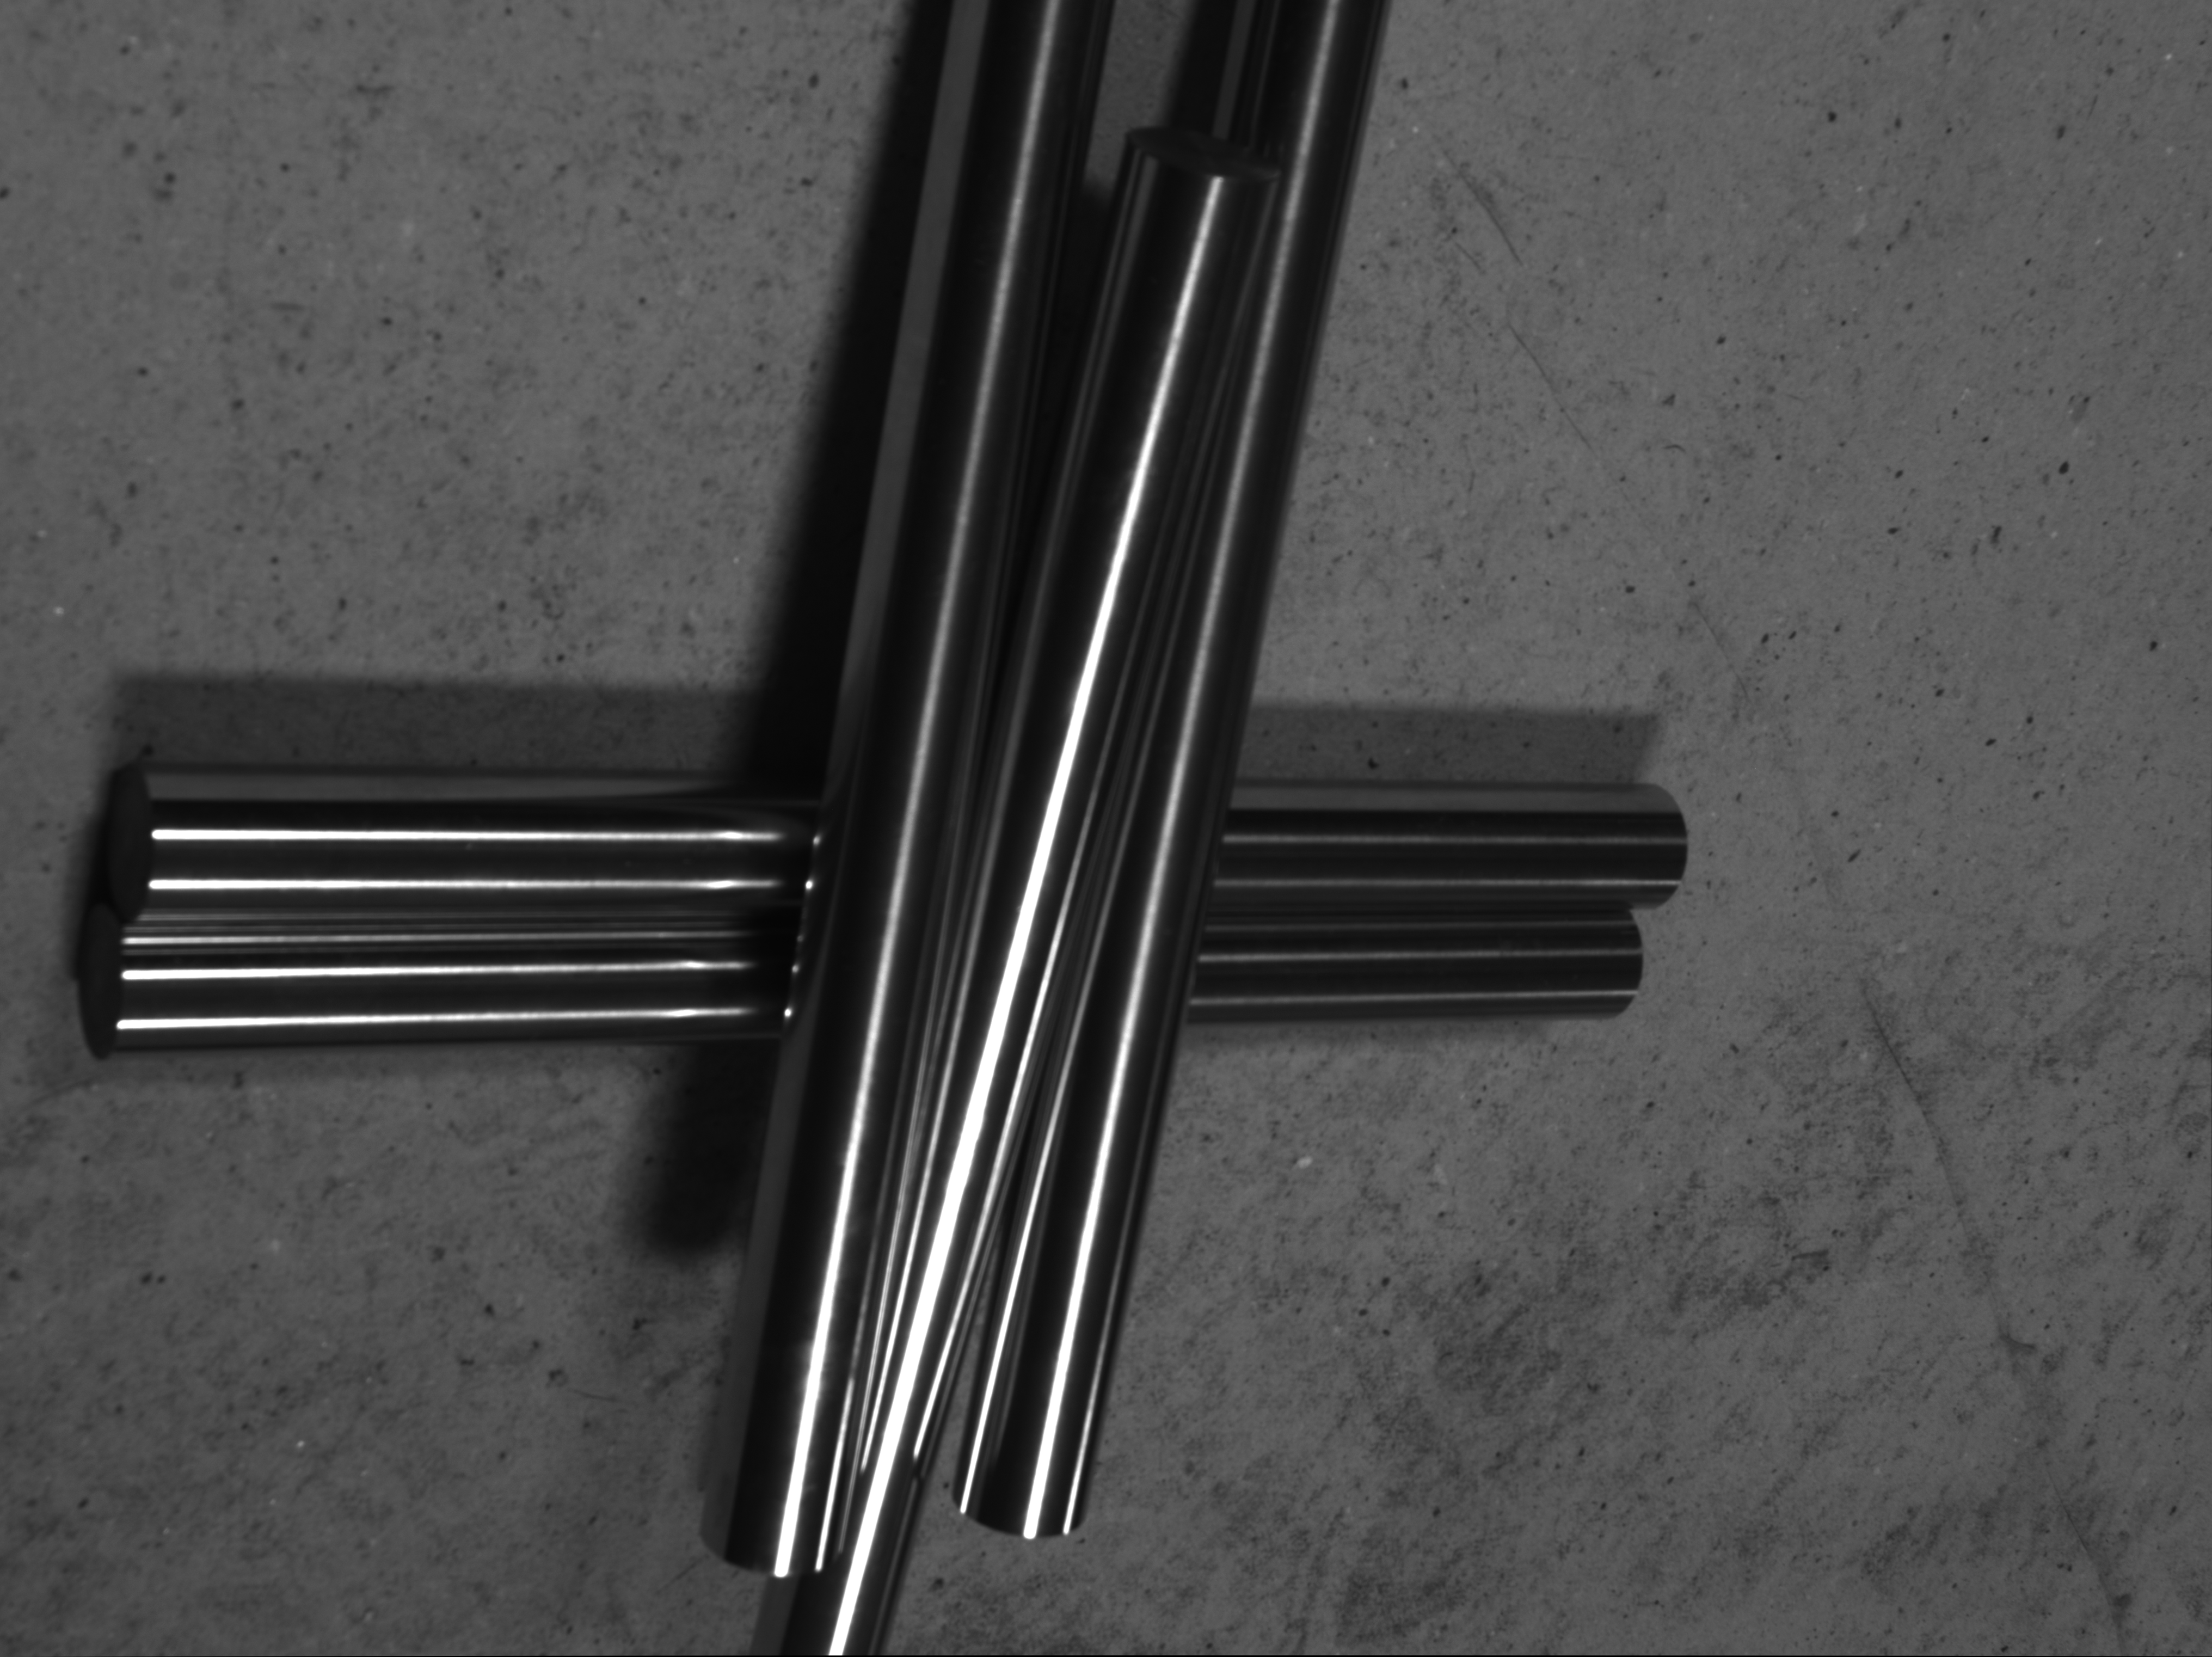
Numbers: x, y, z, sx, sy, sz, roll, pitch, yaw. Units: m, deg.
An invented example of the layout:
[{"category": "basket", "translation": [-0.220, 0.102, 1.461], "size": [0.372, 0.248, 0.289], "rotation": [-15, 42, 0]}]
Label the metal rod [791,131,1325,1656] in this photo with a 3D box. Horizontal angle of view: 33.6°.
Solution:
[{"category": "metal rod", "translation": [-0.013, 0.029, 0.628], "size": [0.025, 0.025, 0.300], "rotation": [0, 118, -30]}]

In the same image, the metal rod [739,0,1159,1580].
[{"category": "metal rod", "translation": [-0.026, -0.015, 0.599], "size": [0.025, 0.025, 0.300], "rotation": [0, 110, -30]}]

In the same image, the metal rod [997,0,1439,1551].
[{"category": "metal rod", "translation": [0.019, -0.015, 0.624], "size": [0.025, 0.025, 0.300], "rotation": [0, 110, -30]}]

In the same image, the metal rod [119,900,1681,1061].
[{"category": "metal rod", "translation": [-0.023, 0.025, 0.654], "size": [0.301, 0.025, 0.025], "rotation": [0, 118, -30]}]

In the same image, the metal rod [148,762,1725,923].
[{"category": "metal rod", "translation": [-0.016, 0.003, 0.645], "size": [0.301, 0.025, 0.025], "rotation": [0, 118, -30]}]
